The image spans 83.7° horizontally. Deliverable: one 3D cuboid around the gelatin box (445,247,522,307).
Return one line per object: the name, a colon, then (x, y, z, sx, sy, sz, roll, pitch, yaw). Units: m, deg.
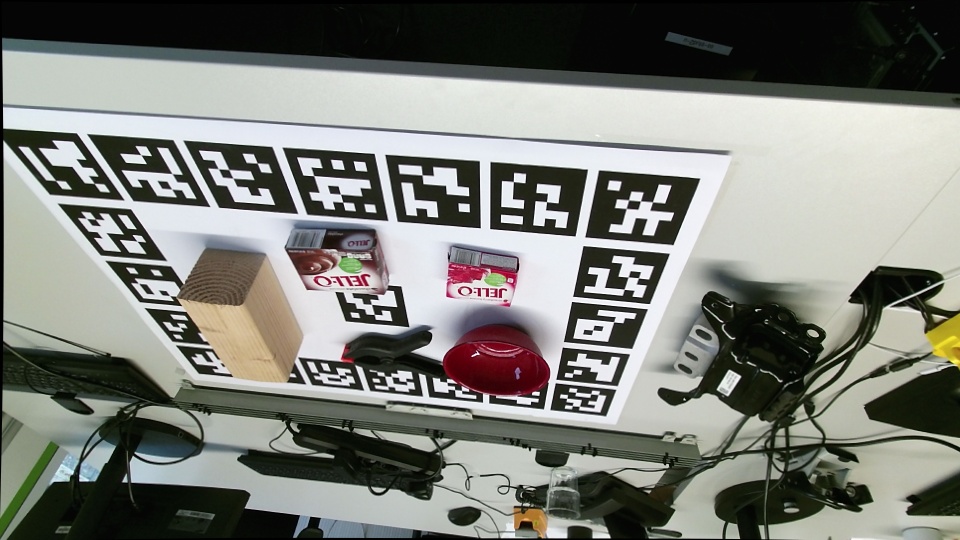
gelatin box: (0.003, 0.012, 0.692, 0.090, 0.030, 0.073, 10, 136, -2)

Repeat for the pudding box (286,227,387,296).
pudding box: (-0.183, -0.011, 0.695, 0.114, 0.038, 0.090, 3, 134, 3)

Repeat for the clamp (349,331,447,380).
clamp: (-0.133, 0.139, 0.864, 0.165, 0.036, 0.122, -1, 137, 14)

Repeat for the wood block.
wood block: (-0.345, 0.073, 0.775, 0.090, 0.090, 0.206, 8, 138, 3)

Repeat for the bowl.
bowl: (0.027, 0.133, 0.814, 0.162, 0.055, 0.162, 5, 135, 5)
